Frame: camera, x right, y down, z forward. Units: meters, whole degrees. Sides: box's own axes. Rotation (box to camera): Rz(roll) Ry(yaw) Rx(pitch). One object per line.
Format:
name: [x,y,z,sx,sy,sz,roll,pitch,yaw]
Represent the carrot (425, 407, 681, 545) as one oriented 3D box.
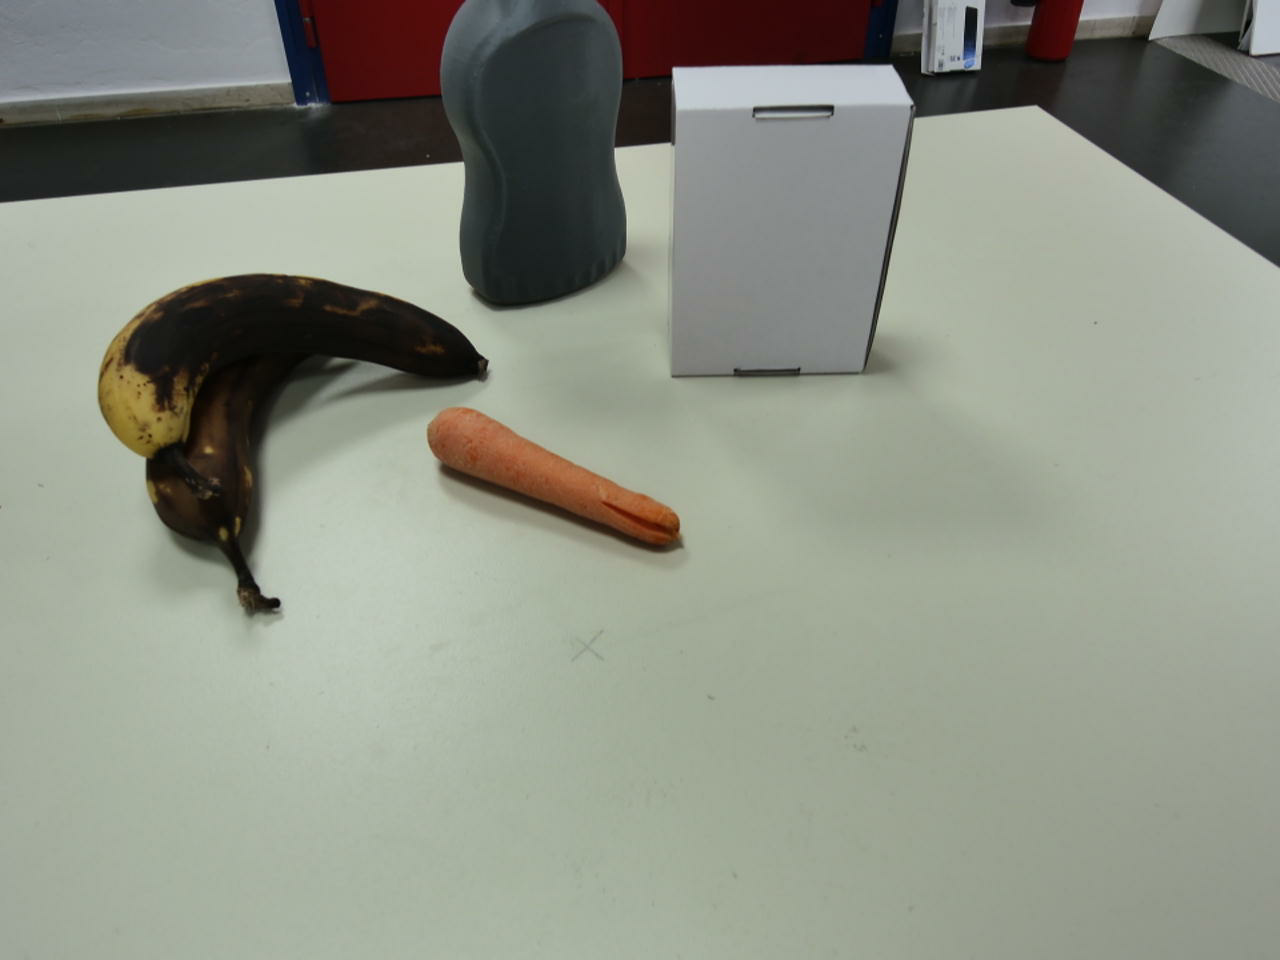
carrot: [-0.042,-0.003,0.455,0.136,0.032,0.030,21,43,25]
